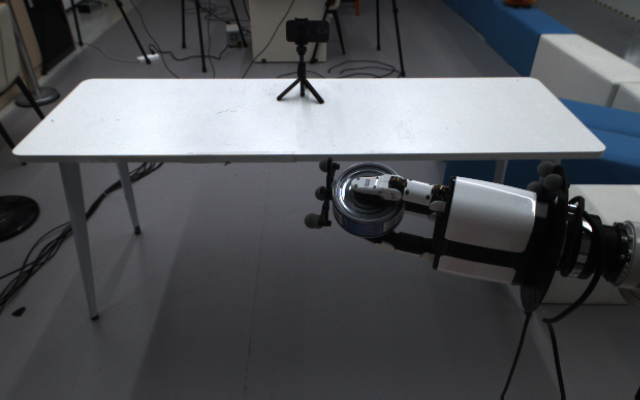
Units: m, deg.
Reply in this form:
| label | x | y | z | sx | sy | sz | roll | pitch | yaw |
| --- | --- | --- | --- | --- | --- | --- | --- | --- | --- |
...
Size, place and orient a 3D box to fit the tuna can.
| label | x | y | z | sx | sy | sz | roll | pitch | yaw |
| --- | --- | --- | --- | --- | --- | --- | --- | --- | --- |
| tuna can | 0.060 | 0.002 | 0.558 | 0.085 | 0.034 | 0.085 | -2 | 57 | 3 |
